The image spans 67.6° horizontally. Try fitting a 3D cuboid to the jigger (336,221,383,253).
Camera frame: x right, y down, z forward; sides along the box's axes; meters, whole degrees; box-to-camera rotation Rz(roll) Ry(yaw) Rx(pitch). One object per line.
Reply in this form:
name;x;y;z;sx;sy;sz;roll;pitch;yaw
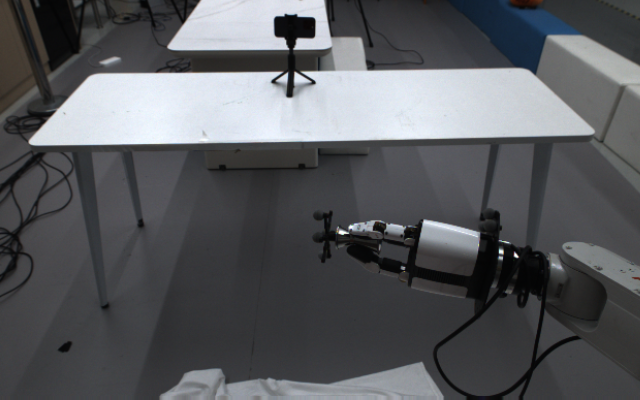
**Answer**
jigger;0.068;0.056;0.760;0.071;0.043;0.043;3;34;12
